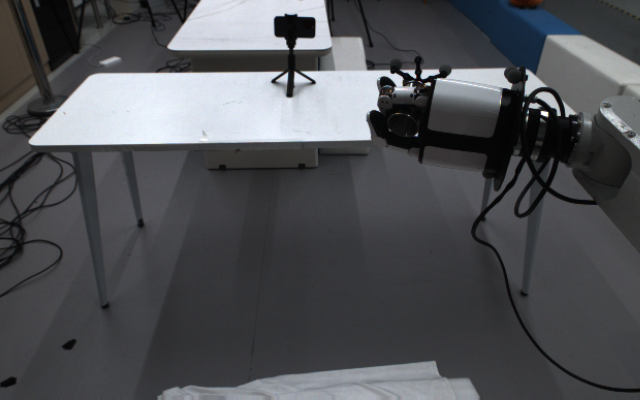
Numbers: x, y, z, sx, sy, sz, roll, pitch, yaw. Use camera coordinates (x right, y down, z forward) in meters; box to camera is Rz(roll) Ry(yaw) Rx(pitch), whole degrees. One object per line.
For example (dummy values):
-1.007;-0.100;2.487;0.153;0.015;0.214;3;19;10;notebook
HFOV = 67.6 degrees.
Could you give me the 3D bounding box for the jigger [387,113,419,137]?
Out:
0.123;-0.125;0.657;0.043;0.043;0.071;13;58;15;jigger
